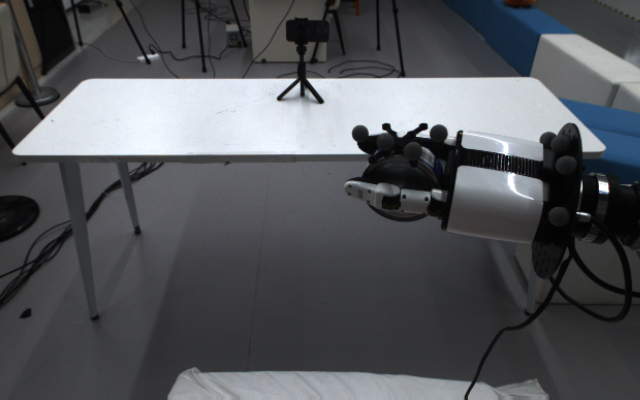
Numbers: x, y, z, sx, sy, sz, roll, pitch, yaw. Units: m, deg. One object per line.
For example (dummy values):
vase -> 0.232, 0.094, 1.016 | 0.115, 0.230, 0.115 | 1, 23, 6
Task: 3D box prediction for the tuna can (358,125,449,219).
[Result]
tuna can -> 0.091, -0.021, 0.525 | 0.085, 0.085, 0.034 | 12, 39, 13
